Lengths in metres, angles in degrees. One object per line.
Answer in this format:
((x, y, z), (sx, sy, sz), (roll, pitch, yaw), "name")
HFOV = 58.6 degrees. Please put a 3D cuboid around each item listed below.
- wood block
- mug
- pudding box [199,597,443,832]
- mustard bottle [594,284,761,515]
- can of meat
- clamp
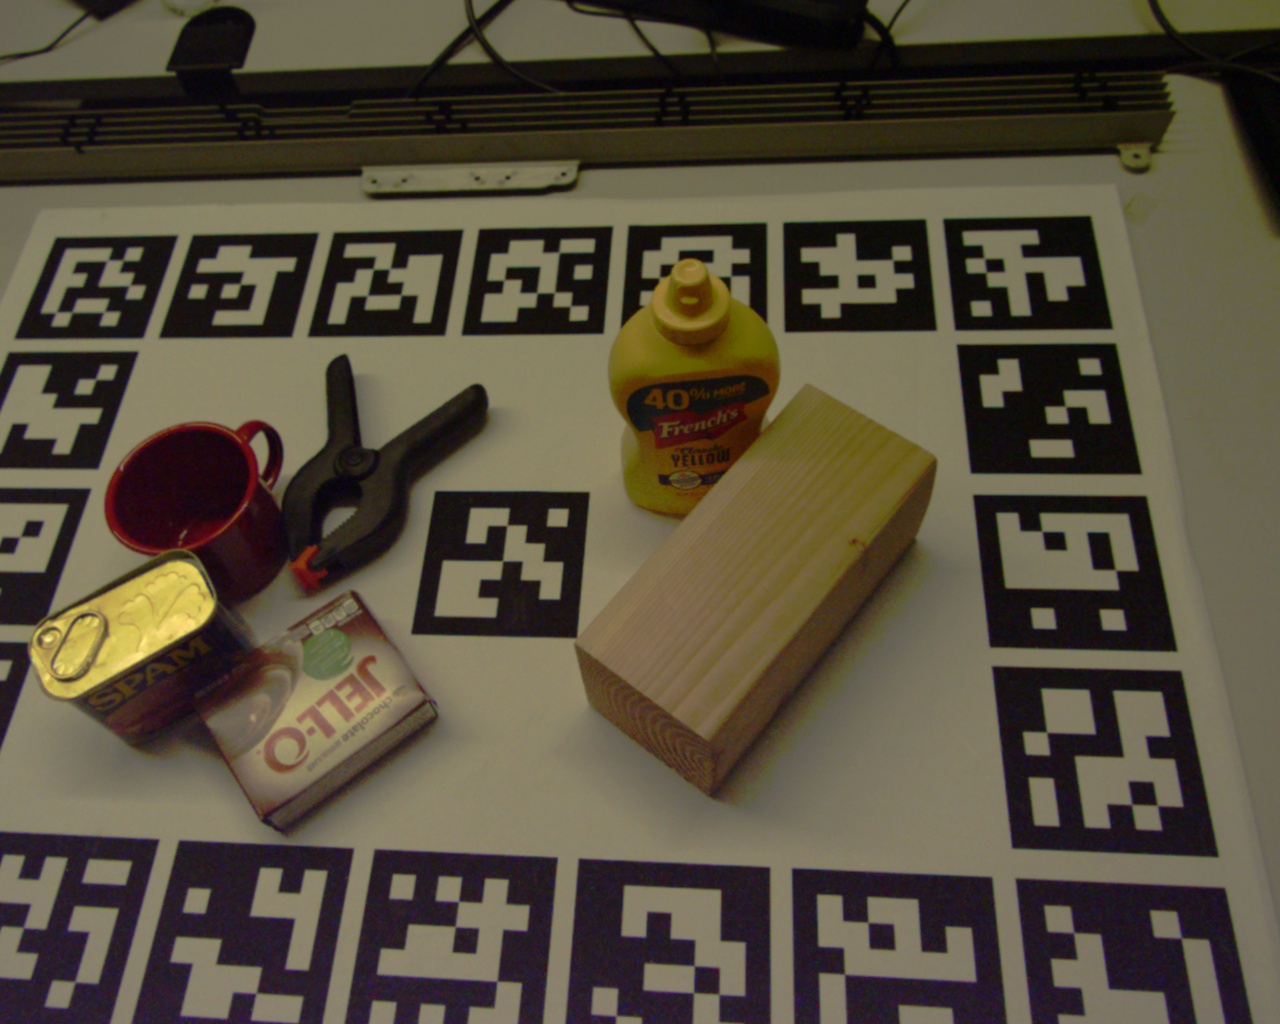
((0.063, 0.051, 0.665), (0.091, 0.090, 0.205), (34, 67, 24), "wood block")
((-0.269, 0.007, 0.753), (0.094, 0.081, 0.117), (20, 66, 16), "mug")
((-0.188, 0.120, 0.679), (0.113, 0.038, 0.091), (-35, 63, -15), "pudding box")
((0.023, -0.067, 0.673), (0.096, 0.190, 0.058), (-4, 61, 4), "mustard bottle")
((-0.287, 0.087, 0.677), (0.101, 0.083, 0.058), (-27, 63, -9), "can of meat")
((-0.185, -0.026, 0.767), (0.123, 0.036, 0.165), (18, 66, 14), "clamp")
